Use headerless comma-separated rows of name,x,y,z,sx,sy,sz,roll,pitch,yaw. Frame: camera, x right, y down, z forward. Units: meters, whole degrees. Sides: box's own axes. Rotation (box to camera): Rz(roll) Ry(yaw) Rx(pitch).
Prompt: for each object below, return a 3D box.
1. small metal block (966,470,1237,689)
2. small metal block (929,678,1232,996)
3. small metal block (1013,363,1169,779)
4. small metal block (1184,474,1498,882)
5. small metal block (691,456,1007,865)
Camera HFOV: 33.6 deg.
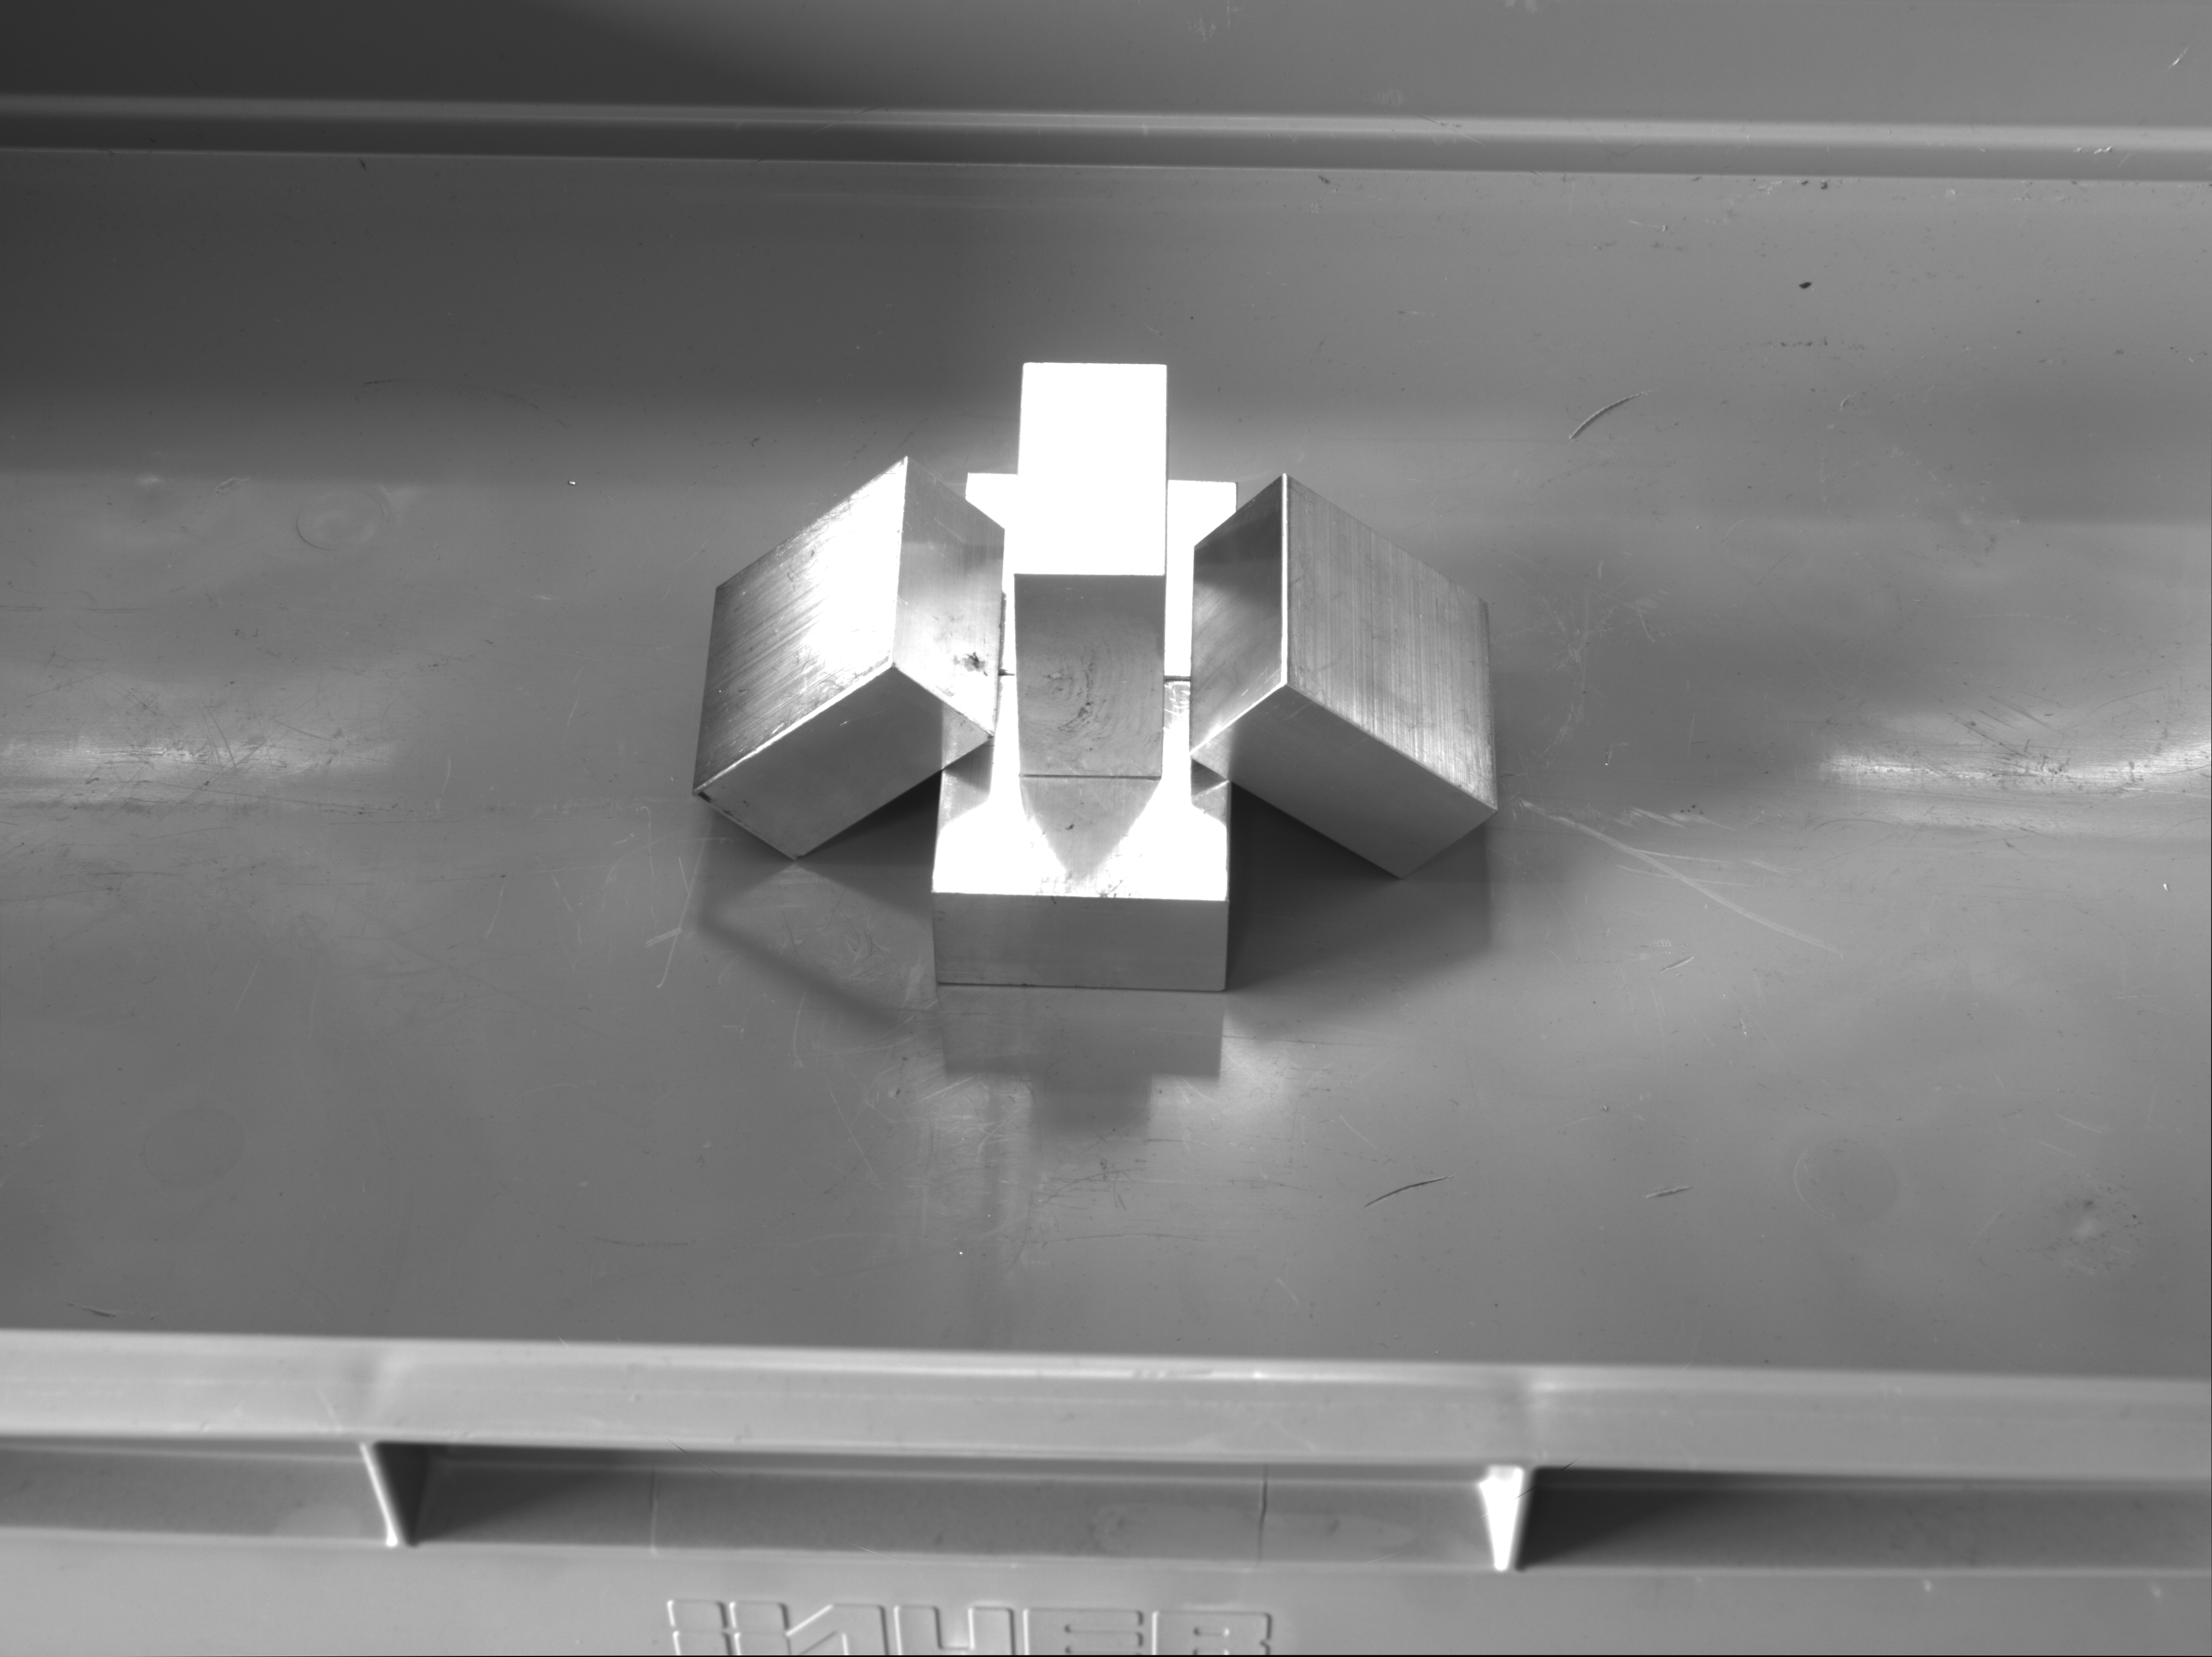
small metal block,-0.002,-0.038,0.671,0.050,0.025,0.050,2,50,1
small metal block,-0.003,0.001,0.639,0.050,0.025,0.050,2,50,2
small metal block,-0.002,-0.044,0.627,0.025,0.050,0.050,1,50,0
small metal block,0.042,-0.026,0.647,0.050,0.025,0.050,29,44,-28
small metal block,-0.045,-0.029,0.647,0.050,0.025,0.050,-31,40,32
